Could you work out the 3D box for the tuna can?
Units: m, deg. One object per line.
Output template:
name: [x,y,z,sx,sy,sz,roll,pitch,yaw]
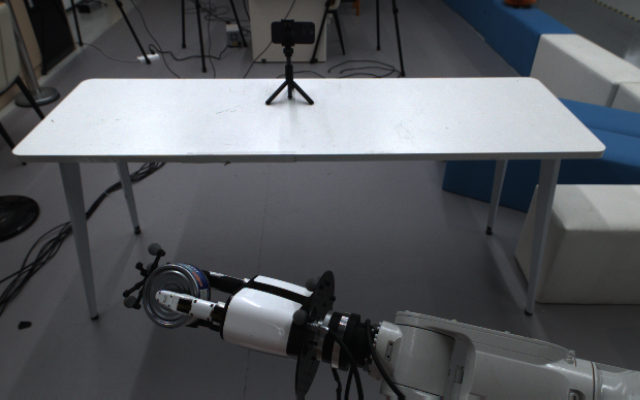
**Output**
tuna can: [-0.190,0.127,0.647,0.085,0.085,0.034,12,-3,14]
